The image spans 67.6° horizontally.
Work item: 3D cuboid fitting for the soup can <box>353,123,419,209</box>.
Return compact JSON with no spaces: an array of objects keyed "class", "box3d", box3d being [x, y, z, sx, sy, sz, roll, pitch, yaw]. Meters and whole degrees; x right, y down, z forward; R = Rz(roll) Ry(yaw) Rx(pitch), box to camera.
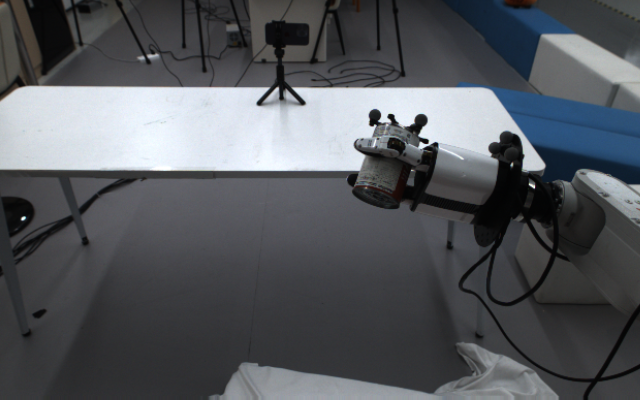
[{"class":"soup can","box3d":[0.093,-0.046,0.669,0.067,0.067,0.101,15,76,18]}]
